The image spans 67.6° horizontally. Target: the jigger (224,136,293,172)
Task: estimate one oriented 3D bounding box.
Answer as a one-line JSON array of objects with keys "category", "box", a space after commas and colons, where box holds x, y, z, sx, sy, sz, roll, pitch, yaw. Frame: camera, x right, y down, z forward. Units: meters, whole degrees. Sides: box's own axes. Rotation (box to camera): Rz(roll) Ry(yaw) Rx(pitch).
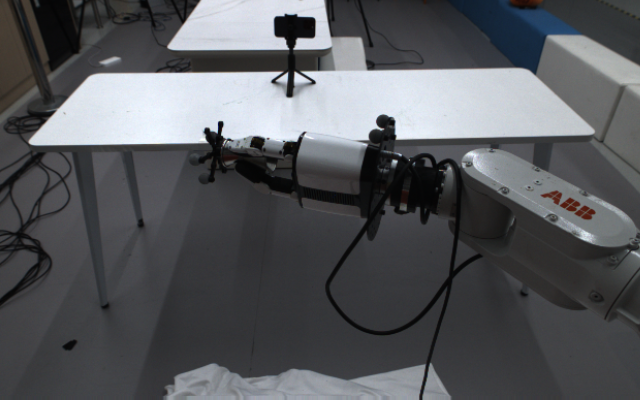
[{"category": "jigger", "box": [-0.091, -0.066, 0.665, 0.071, 0.043, 0.043, 8, 35, 15]}]
